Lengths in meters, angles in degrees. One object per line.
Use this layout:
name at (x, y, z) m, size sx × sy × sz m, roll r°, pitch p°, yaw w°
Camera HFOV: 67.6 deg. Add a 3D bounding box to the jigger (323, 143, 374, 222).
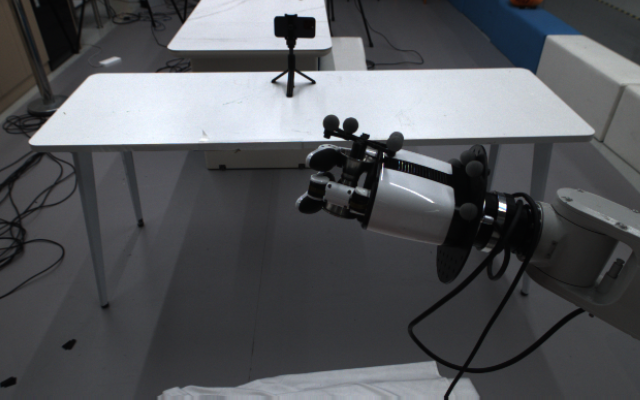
jigger at (0.034, -0.019, 0.548) m, size 0.043 × 0.071 × 0.043 m, roll 15°, pitch 17°, yaw -5°
